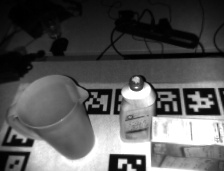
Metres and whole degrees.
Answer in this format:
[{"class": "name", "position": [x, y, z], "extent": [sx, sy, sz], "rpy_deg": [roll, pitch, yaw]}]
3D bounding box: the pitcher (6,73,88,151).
[{"class": "pitcher", "position": [-0.145, 0.077, 0.552], "extent": [0.189, 0.244, 0.132], "rpy_deg": [-14, 51, -5]}]

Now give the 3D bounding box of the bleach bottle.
[{"class": "bleach bottle", "position": [0.047, 0.057, 0.566], "extent": [0.102, 0.253, 0.067], "rpy_deg": [-1, 52, 9]}]

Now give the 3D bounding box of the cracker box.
[{"class": "cracker box", "position": [0.196, 0.133, 0.522], "extent": [0.212, 0.165, 0.072], "rpy_deg": [0, 50, 11]}]

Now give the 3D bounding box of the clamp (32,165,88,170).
[{"class": "clamp", "position": [-0.130, 0.258, 0.570], "extent": [0.165, 0.037, 0.121], "rpy_deg": [-12, 51, -4]}]
